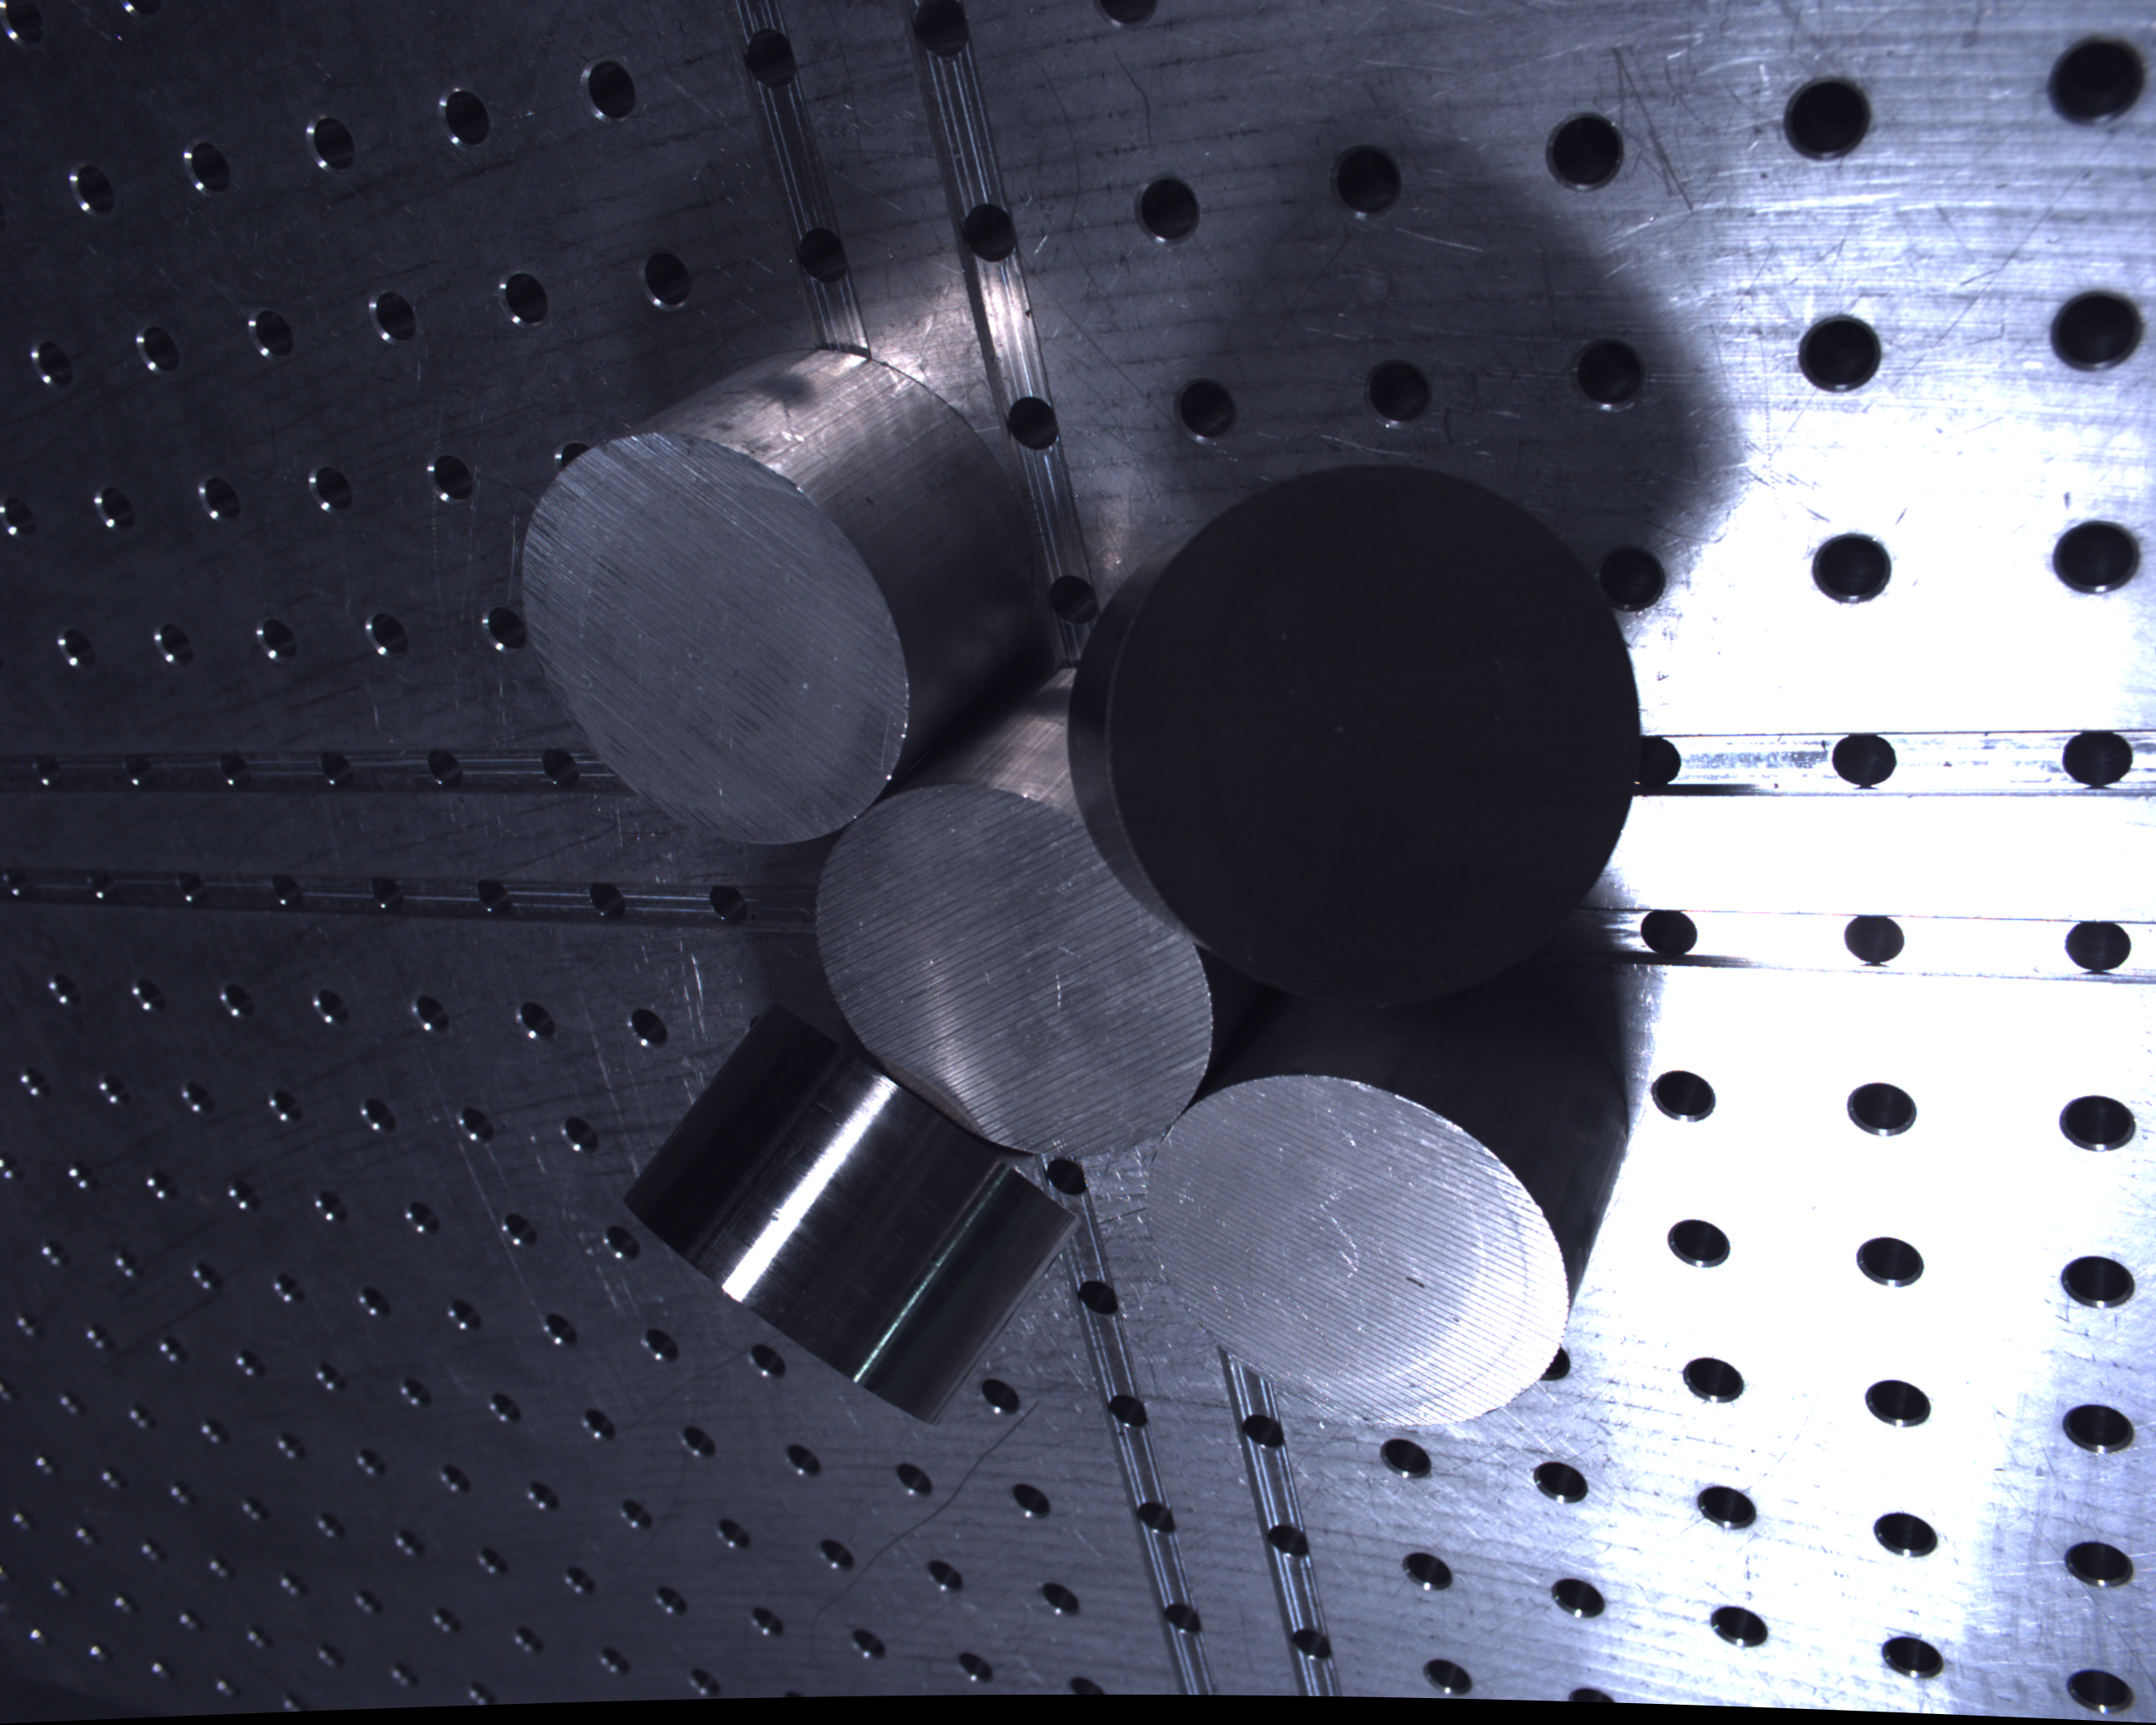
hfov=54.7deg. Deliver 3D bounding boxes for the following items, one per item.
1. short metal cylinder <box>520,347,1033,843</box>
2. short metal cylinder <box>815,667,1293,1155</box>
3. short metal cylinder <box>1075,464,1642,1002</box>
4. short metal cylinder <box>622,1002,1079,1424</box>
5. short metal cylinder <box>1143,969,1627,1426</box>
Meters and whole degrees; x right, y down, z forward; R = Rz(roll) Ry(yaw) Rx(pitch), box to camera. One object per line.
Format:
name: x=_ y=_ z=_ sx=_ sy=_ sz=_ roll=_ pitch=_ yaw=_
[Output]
short metal cylinder: x=-0.056 y=-0.050 z=0.391 sx=0.080 sy=0.050 sz=0.079 roll=13 pitch=124 yaw=20
short metal cylinder: x=-0.003 y=0.009 z=0.400 sx=0.080 sy=0.050 sz=0.079 roll=13 pitch=124 yaw=20
short metal cylinder: x=0.042 y=-0.020 z=0.333 sx=0.081 sy=0.050 sz=0.079 roll=0 pitch=93 yaw=-7
short metal cylinder: x=-0.047 y=0.073 z=0.436 sx=0.080 sy=0.050 sz=0.080 roll=35 pitch=171 yaw=7
short metal cylinder: x=0.059 y=0.060 z=0.400 sx=0.080 sy=0.050 sz=0.079 roll=13 pitch=124 yaw=20
